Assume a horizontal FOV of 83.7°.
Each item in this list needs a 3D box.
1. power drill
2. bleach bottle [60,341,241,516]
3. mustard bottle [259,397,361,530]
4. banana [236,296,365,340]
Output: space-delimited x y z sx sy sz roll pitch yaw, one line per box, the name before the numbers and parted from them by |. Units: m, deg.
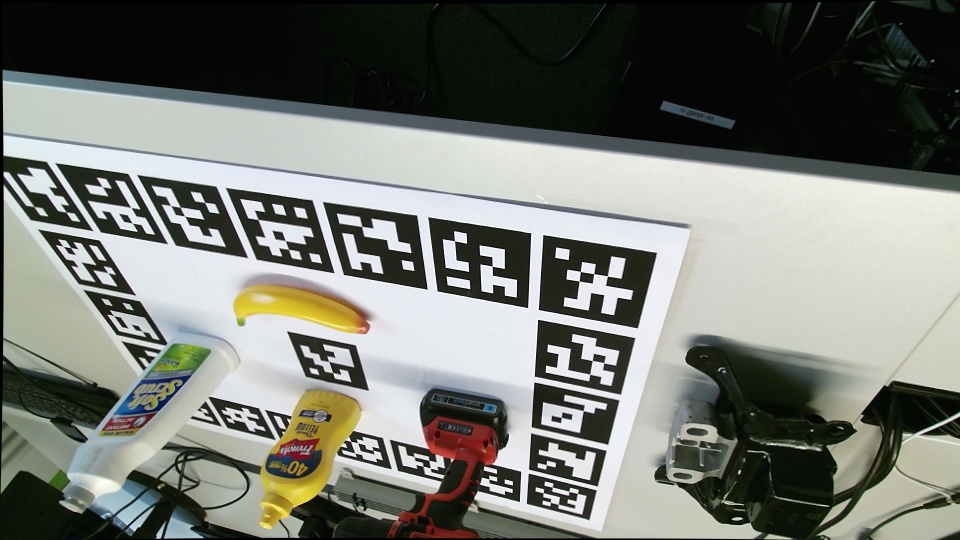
power drill | -0.080 0.282 0.660 0.185 0.186 0.057 2 129 14
bleach bottle | -0.448 0.212 0.733 0.103 0.250 0.068 15 132 8
mustard bottle | -0.253 0.270 0.755 0.096 0.191 0.058 4 130 20
banana | -0.238 0.067 0.664 0.198 0.039 0.074 3 128 14
